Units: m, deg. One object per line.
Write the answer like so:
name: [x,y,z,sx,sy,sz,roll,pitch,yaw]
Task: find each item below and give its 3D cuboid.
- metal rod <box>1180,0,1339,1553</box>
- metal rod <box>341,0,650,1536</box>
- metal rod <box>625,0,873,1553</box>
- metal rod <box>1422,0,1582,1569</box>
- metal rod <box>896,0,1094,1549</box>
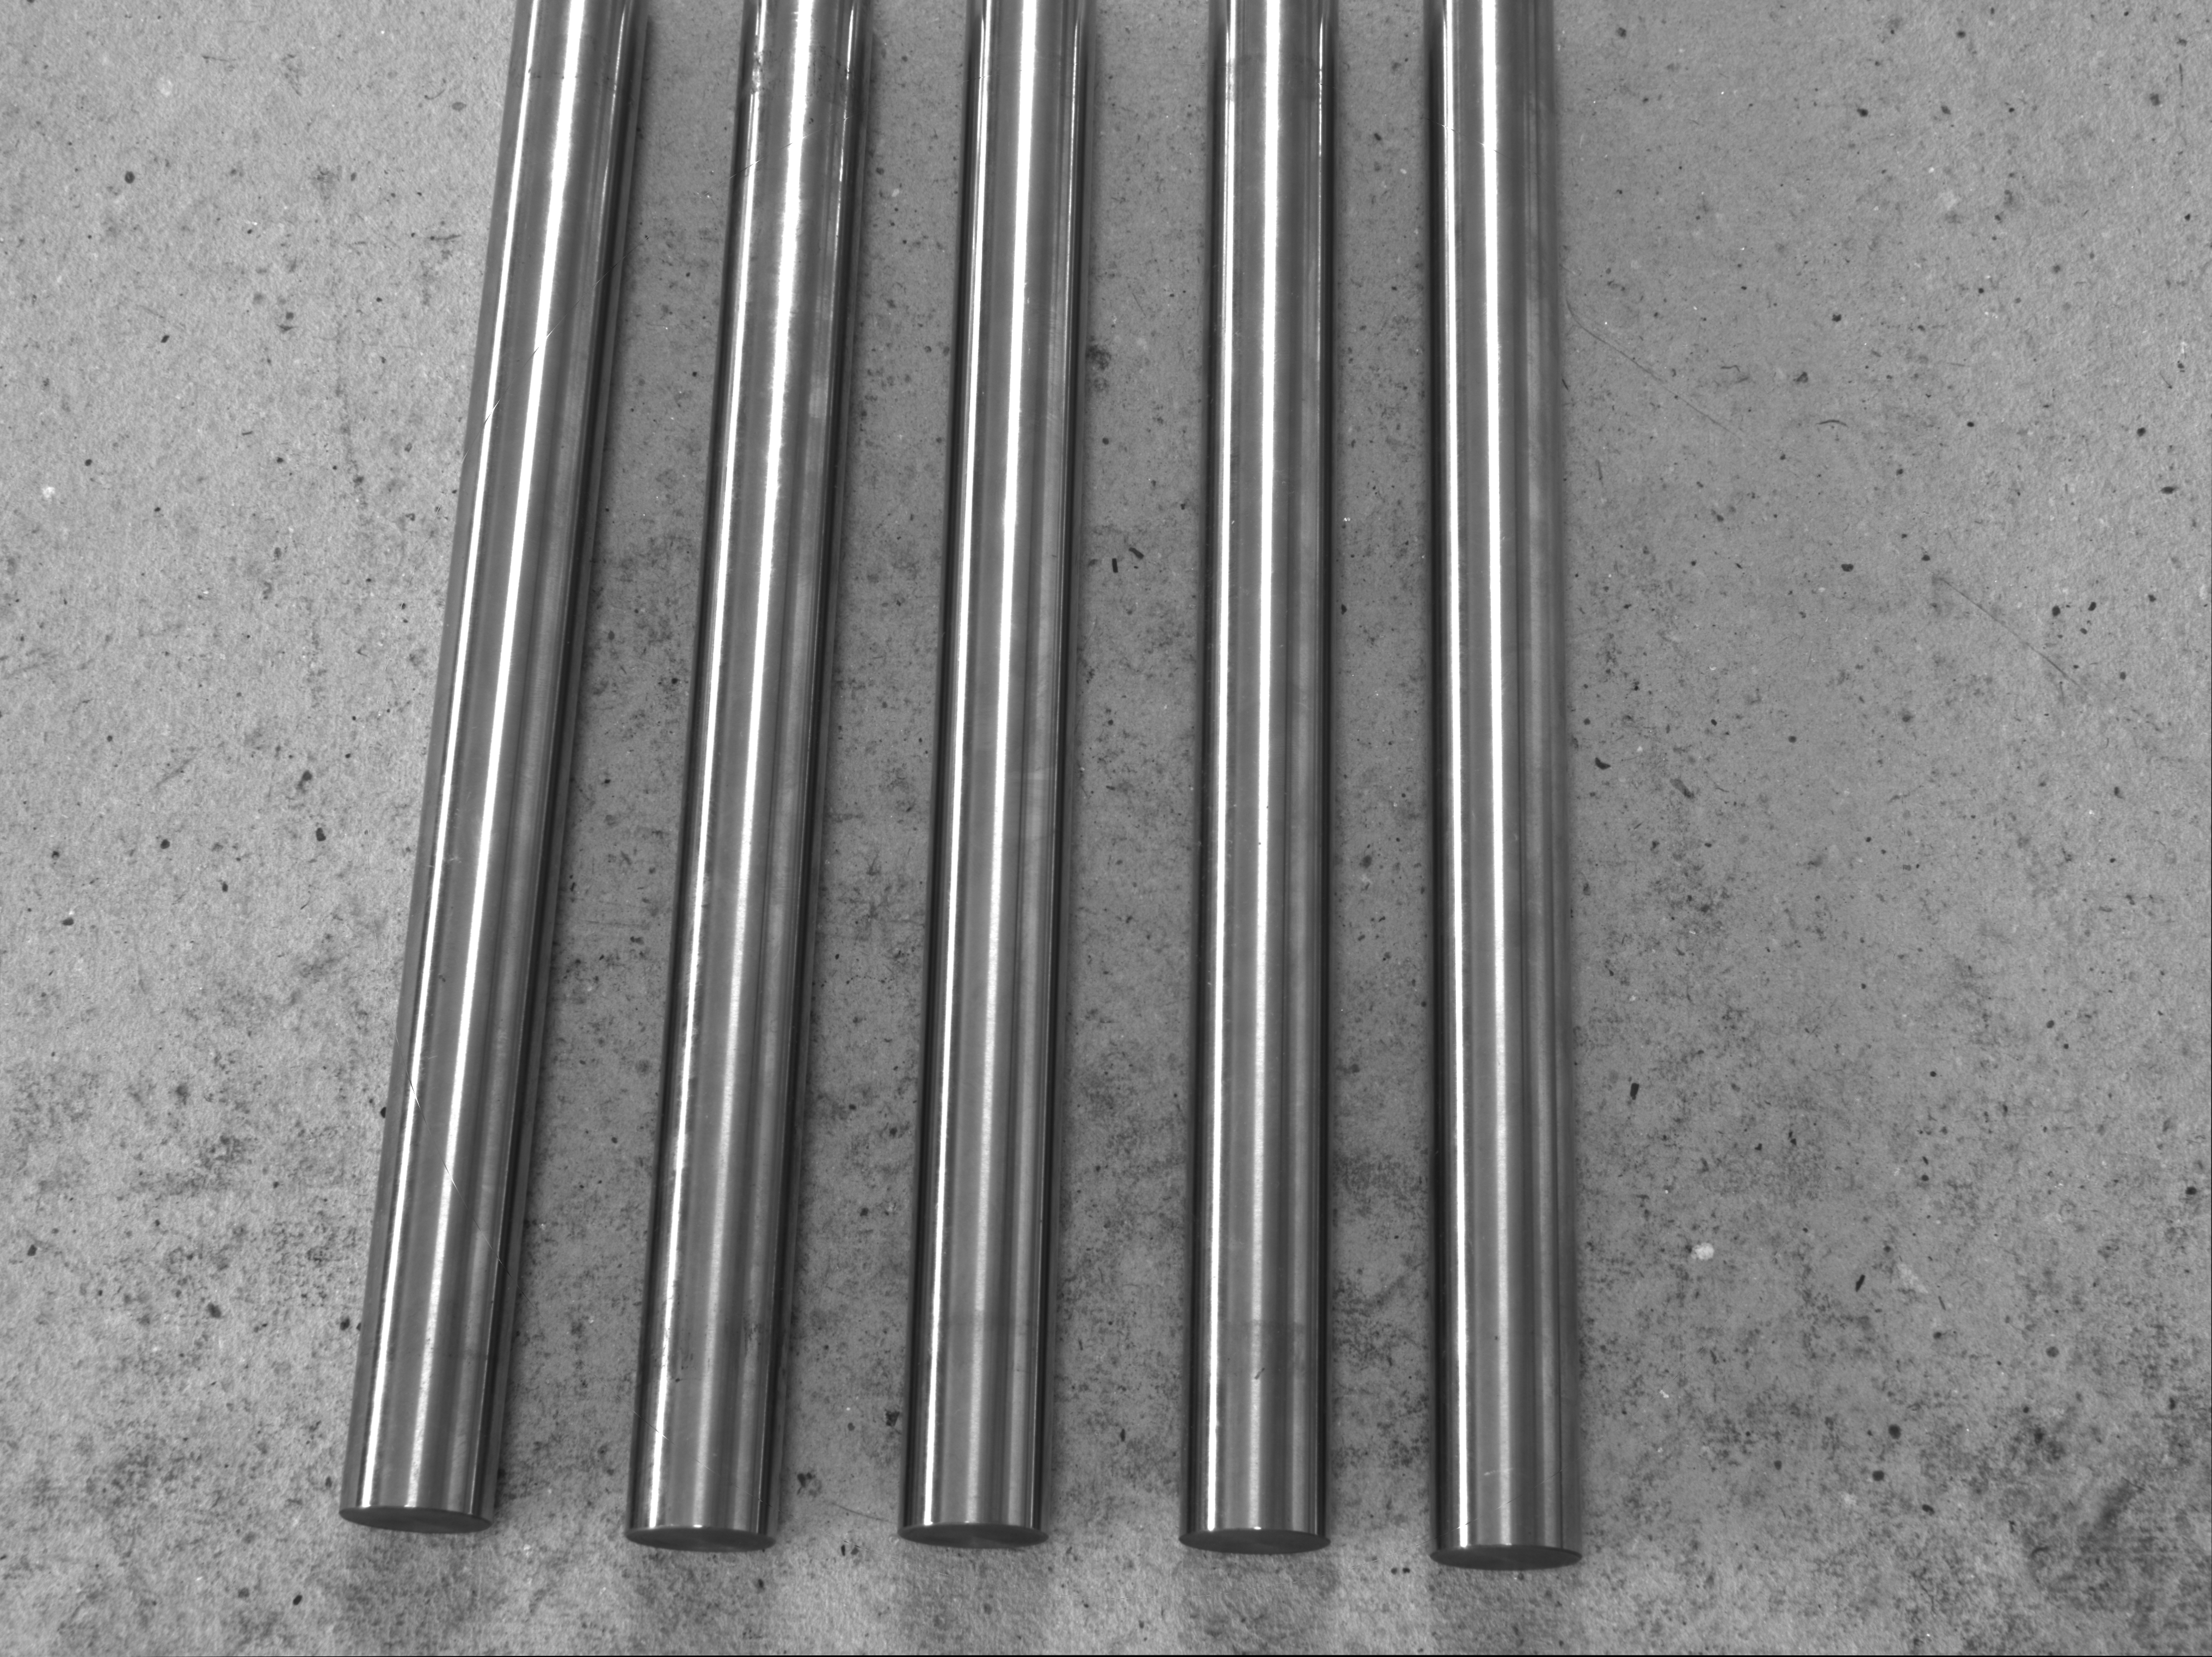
metal rod: [0.028,-0.024,0.653,0.025,0.025,0.300,1,70,1]
metal rod: [-0.106,-0.026,0.653,0.025,0.025,0.300,2,70,1]
metal rod: [-0.062,-0.024,0.653,0.025,0.025,0.300,2,70,1]
metal rod: [0.069,-0.021,0.653,0.025,0.025,0.300,1,70,1]
metal rod: [-0.018,-0.025,0.654,0.025,0.025,0.300,1,70,1]
